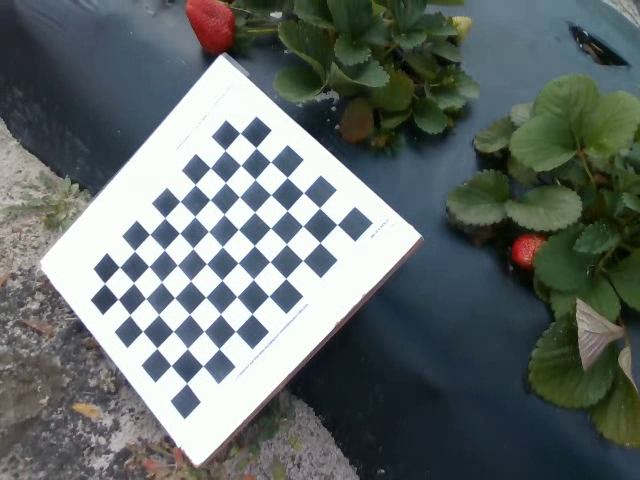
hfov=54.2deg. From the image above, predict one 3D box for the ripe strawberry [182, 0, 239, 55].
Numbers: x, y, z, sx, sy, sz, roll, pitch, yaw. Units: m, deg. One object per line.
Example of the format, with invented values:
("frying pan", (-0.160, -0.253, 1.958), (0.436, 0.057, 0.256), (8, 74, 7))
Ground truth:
("ripe strawberry", (-0.119, -0.237, 0.674), (0.057, 0.056, 0.064), (0, -9, 35))
